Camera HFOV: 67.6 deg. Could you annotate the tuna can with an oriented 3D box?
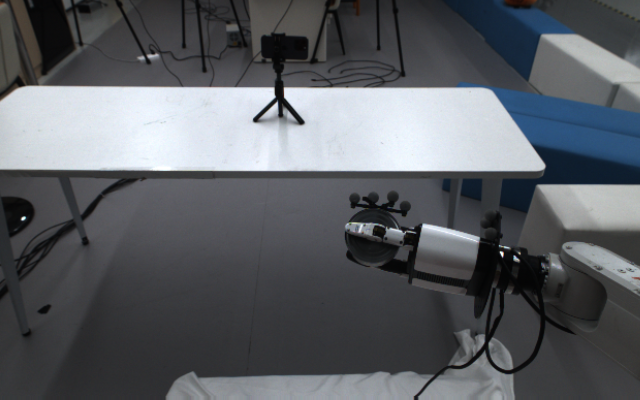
[{"bbox_3d":[0.082,0.053,0.738,0.085,0.034,0.085,-3,68,7],"label":"tuna can"}]
